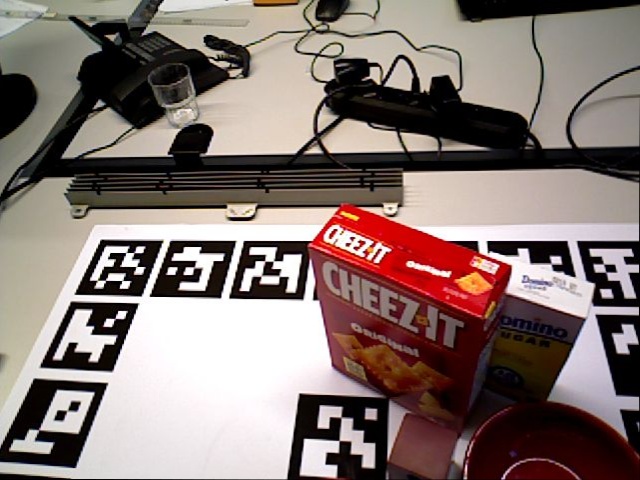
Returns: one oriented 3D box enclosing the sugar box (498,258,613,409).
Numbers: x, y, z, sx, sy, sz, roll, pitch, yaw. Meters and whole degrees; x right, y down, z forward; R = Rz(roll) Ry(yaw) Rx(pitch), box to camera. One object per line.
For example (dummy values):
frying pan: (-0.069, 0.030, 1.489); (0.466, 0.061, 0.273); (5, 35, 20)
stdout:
sugar box: (0.202, 0.089, 0.516); (0.093, 0.180, 0.044); (18, 53, 23)

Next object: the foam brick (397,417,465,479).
foam brick: (0.103, 0.210, 0.501); (0.053, 0.079, 0.050); (12, 51, 20)

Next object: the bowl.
bowl: (0.220, 0.231, 0.457); (0.161, 0.056, 0.159); (-5, 49, 5)

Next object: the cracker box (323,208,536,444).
cracker box: (0.090, 0.087, 0.514); (0.164, 0.218, 0.070); (25, 54, 27)
